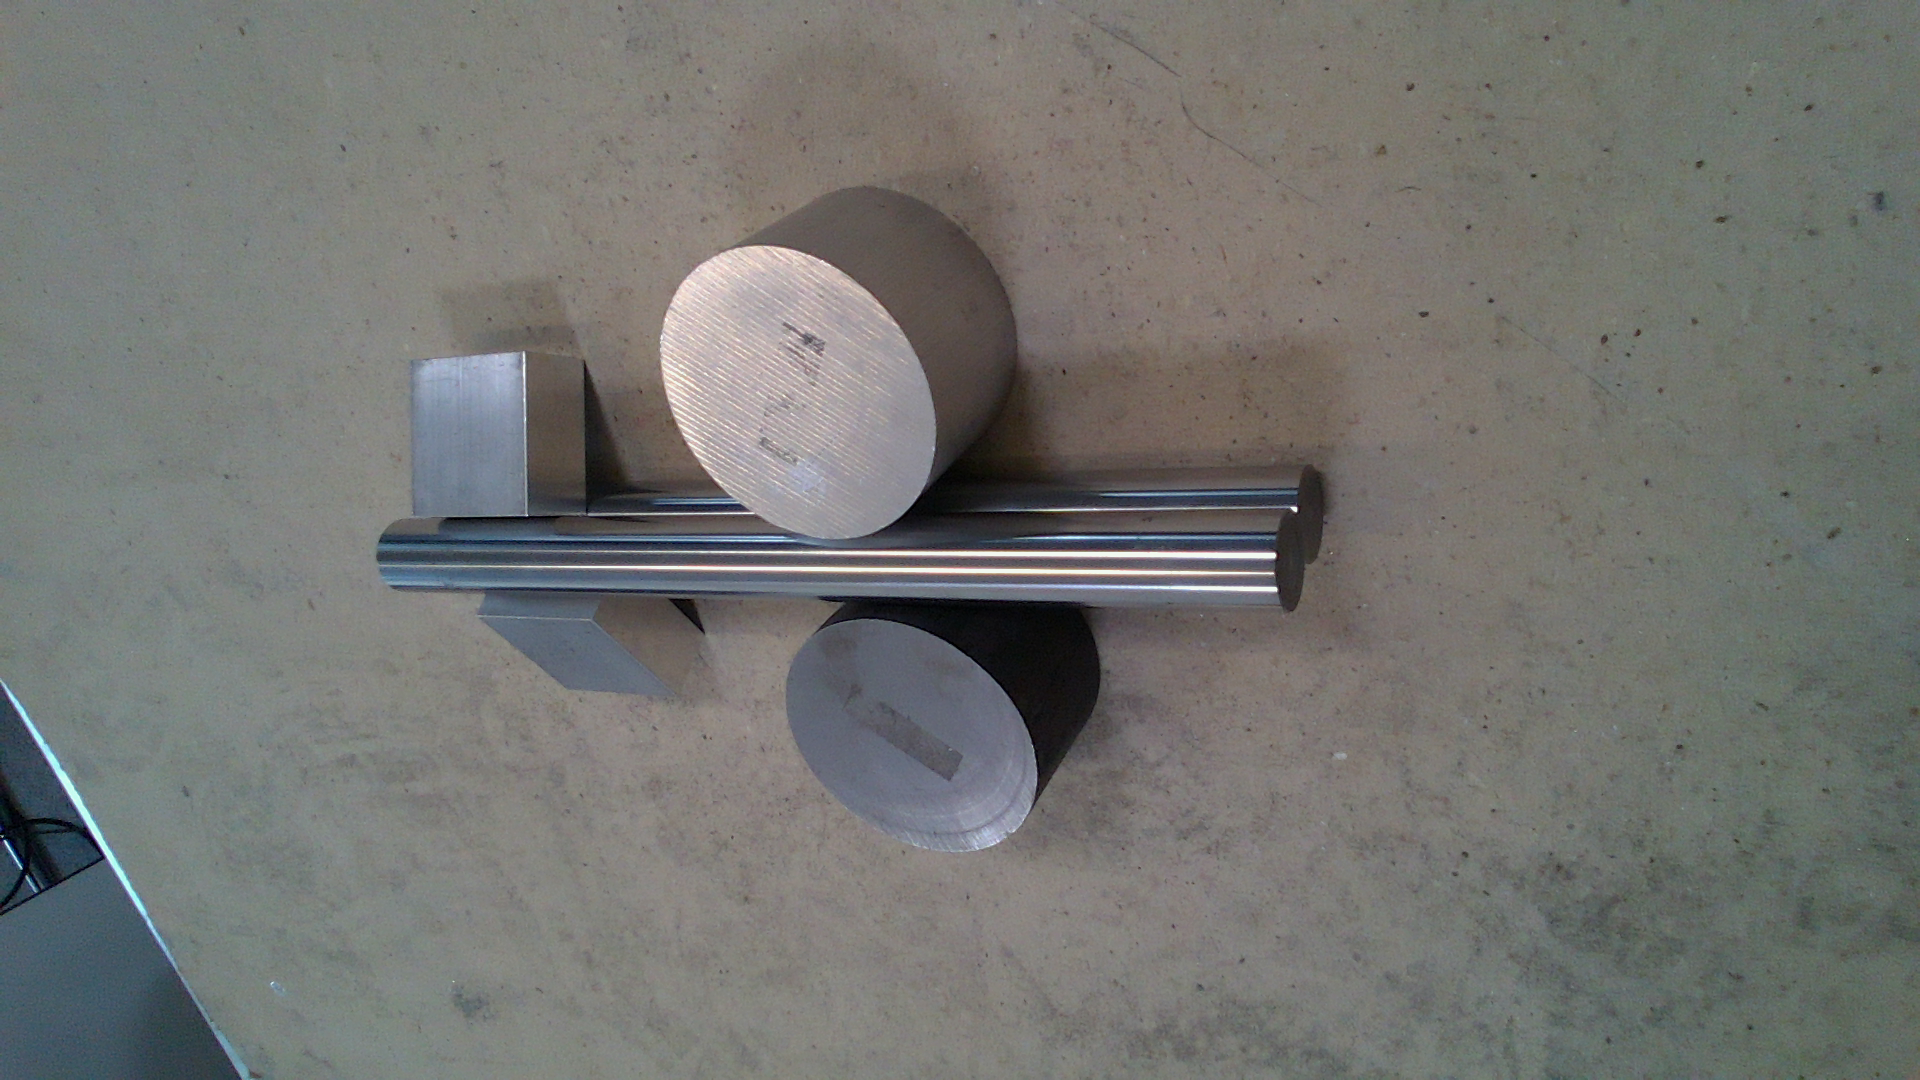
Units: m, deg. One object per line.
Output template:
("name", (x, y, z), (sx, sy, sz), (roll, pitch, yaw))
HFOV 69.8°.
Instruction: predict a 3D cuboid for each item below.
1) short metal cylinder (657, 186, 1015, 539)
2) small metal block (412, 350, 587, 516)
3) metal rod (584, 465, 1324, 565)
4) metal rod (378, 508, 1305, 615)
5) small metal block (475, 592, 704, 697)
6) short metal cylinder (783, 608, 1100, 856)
("short metal cylinder", (-0.032, -0.047, 0.364), (0.080, 0.050, 0.080), (13, 124, 21))
("small metal block", (-0.147, -0.033, 0.439), (0.050, 0.025, 0.050), (0, 91, 28))
("metal rod", (-0.044, -0.007, 0.413), (0.299, 0.025, 0.025), (0, 119, 28))
("metal rod", (-0.054, 0.005, 0.393), (0.299, 0.025, 0.025), (0, 119, 28))
("small metal block", (-0.124, 0.029, 0.464), (0.050, 0.025, 0.050), (0, 145, 28))
("short metal cylinder", (-0.005, 0.046, 0.408), (0.080, 0.050, 0.080), (13, 124, 21))
